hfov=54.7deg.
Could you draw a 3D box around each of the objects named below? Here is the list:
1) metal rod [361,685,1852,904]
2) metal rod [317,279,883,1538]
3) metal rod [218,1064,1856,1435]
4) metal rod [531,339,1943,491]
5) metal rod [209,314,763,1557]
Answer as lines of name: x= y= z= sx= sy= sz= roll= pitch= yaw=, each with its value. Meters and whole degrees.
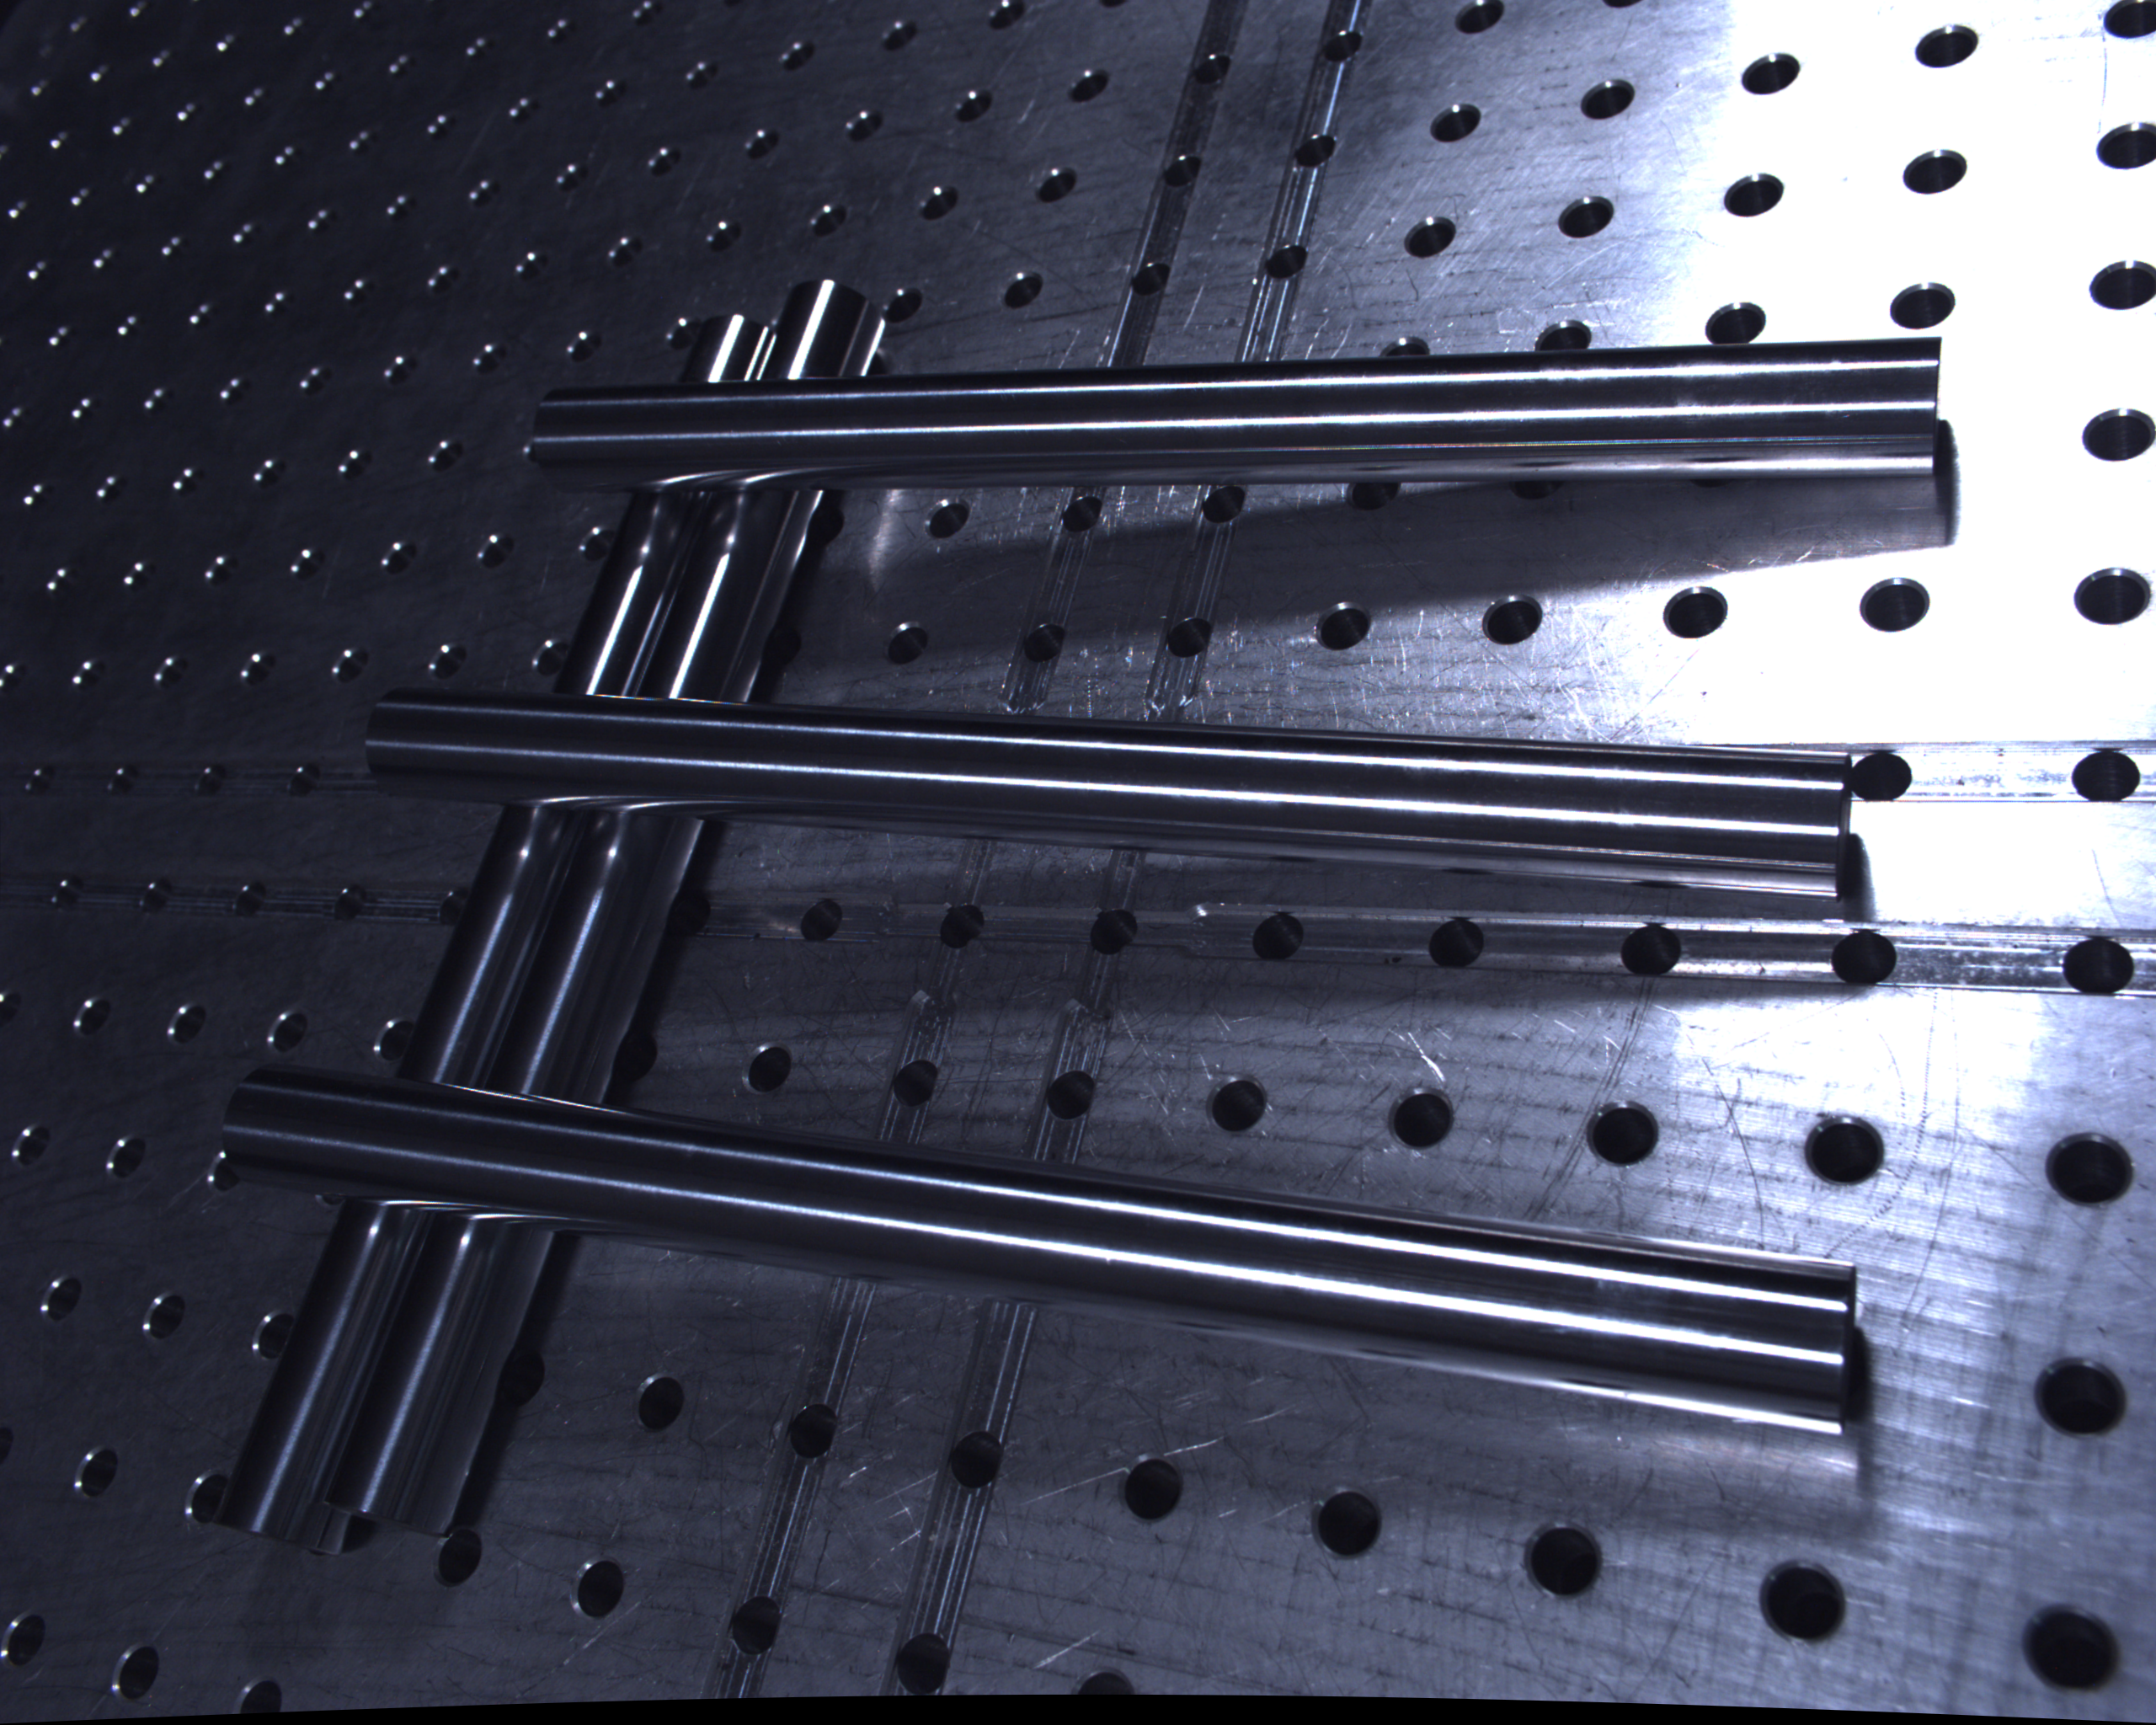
metal rod: x=-0.011 y=-0.016 z=0.403 sx=0.301 sy=0.025 sz=0.025 roll=4 pitch=64 yaw=23
metal rod: x=-0.097 y=-0.006 z=0.460 sx=0.025 sy=0.025 sz=0.300 roll=1 pitch=62 yaw=28
metal rod: x=-0.025 y=0.062 z=0.363 sx=0.301 sy=0.025 sz=0.025 roll=4 pitch=64 yaw=22
metal rod: x=0.017 y=-0.091 z=0.435 sx=0.301 sy=0.025 sz=0.025 roll=4 pitch=63 yaw=22
metal rod: x=-0.121 y=0.001 z=0.468 sx=0.025 sy=0.025 sz=0.300 roll=1 pitch=62 yaw=28
